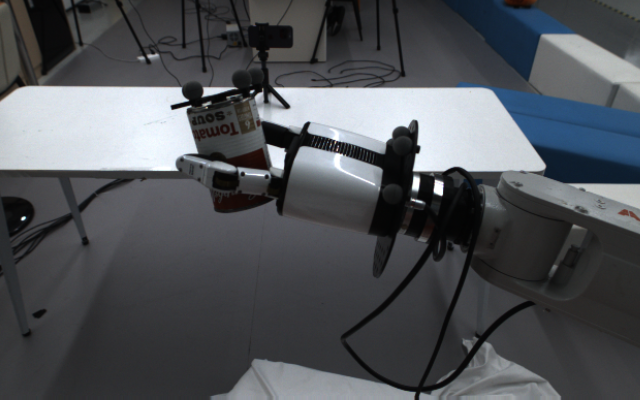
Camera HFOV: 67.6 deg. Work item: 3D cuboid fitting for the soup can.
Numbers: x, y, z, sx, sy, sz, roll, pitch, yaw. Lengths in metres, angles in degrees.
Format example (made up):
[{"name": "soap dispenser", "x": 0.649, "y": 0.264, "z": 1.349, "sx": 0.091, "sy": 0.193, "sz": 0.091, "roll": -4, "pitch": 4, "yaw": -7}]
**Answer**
[{"name": "soup can", "x": -0.082, "y": -0.047, "z": 0.476, "sx": 0.067, "sy": 0.101, "sz": 0.067, "roll": -12, "pitch": 17, "yaw": 4}]
